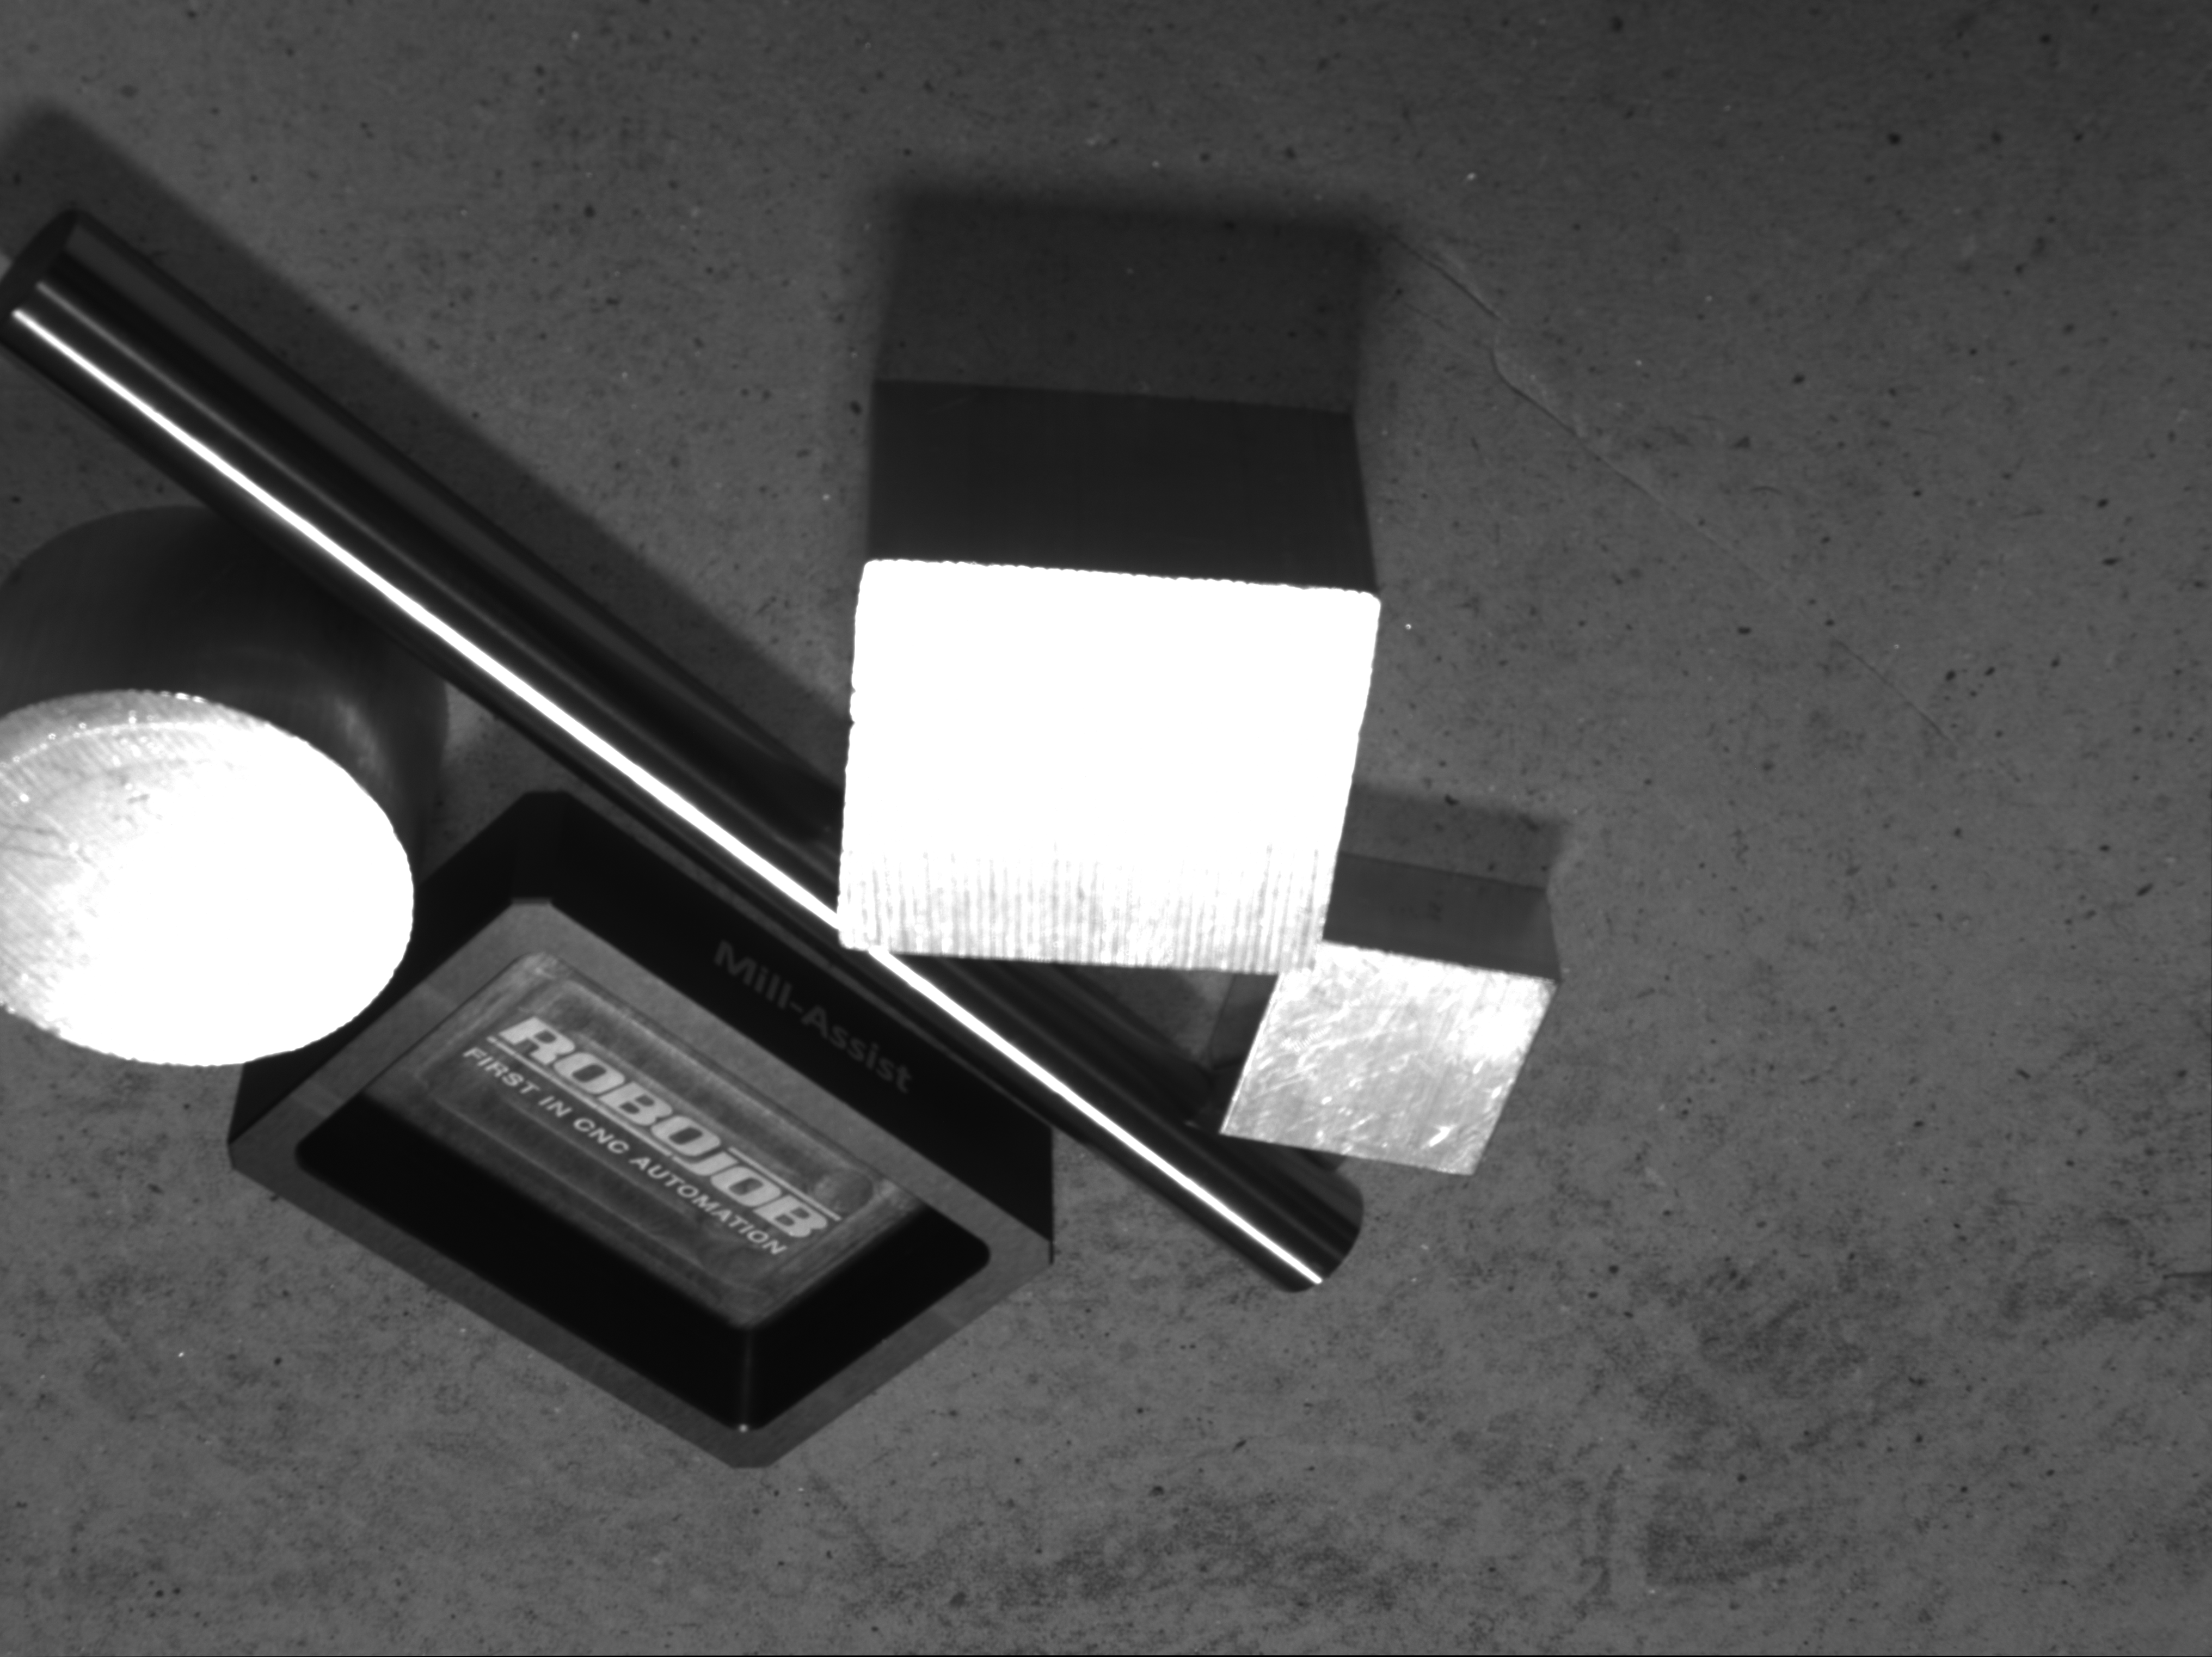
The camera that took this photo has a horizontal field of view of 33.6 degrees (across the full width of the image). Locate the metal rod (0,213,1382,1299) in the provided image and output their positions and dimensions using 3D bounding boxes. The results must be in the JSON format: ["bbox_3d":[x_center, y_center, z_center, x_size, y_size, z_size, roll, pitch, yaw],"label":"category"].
[{"bbox_3d":[-0.060,-0.002,0.634,0.025,0.025,0.301,-37,122,25],"label":"metal rod"}]

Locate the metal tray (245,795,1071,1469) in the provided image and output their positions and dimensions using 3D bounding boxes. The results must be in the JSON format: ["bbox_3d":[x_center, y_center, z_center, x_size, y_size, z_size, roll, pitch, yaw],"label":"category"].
[{"bbox_3d":[-0.081,0.060,0.683,0.090,0.030,0.130,-38,122,26],"label":"metal tray"}]

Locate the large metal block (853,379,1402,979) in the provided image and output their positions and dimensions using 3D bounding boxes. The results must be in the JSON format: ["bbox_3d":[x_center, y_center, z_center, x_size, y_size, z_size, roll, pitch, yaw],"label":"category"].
[{"bbox_3d":[0.001,-0.024,0.602,0.080,0.050,0.080,3,130,-5],"label":"large metal block"}]

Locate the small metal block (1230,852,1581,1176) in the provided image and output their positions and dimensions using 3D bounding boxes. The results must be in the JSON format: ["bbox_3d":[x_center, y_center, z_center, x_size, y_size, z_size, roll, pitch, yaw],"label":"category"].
[{"bbox_3d":[0.054,0.033,0.669,0.050,0.025,0.050,10,129,-10],"label":"small metal block"}]

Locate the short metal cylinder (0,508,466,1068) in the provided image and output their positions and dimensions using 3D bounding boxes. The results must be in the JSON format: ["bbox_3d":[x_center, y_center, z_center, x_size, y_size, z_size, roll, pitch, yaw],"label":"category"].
[{"bbox_3d":[-0.150,-0.006,0.612,0.080,0.050,0.080,-1,130,-1],"label":"short metal cylinder"}]
